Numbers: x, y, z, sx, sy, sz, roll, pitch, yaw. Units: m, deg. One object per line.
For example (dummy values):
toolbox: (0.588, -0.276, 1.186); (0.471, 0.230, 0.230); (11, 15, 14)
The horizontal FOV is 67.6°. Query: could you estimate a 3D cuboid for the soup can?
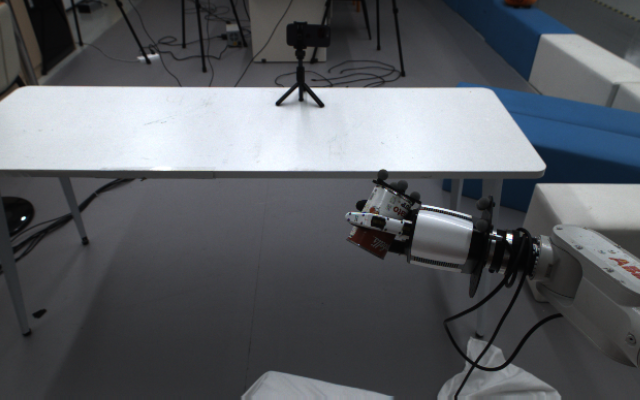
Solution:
soup can: (0.095, 0.035, 0.768); (0.067, 0.101, 0.067); (29, -3, 1)
